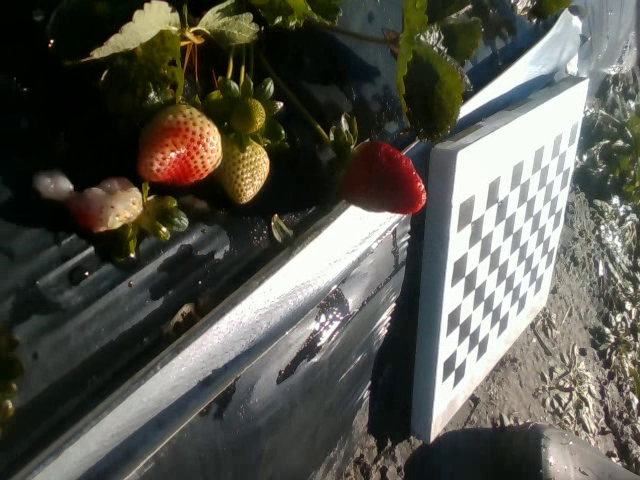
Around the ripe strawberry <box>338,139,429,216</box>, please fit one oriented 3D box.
[{"bbox_3d":[0.029,-0.025,0.271,0.046,0.038,0.036,35,44,28],"label":"ripe strawberry"}]
